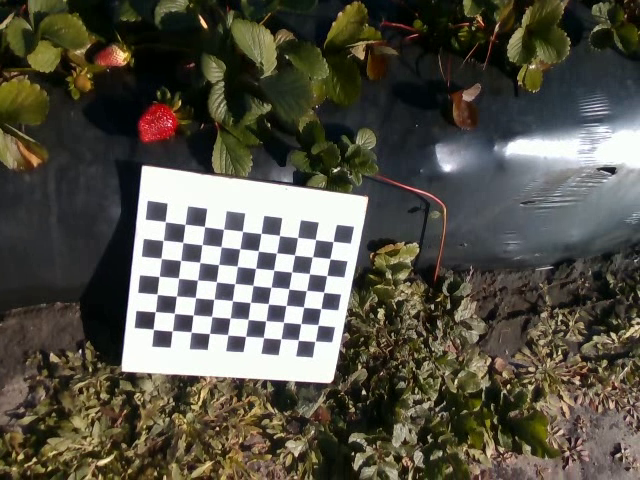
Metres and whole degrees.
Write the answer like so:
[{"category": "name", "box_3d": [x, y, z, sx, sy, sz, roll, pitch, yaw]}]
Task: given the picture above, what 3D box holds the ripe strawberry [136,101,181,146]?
[{"category": "ripe strawberry", "box_3d": [-0.200, -0.140, 0.784, 0.058, 0.066, 0.062, -30, 21, 25]}]
